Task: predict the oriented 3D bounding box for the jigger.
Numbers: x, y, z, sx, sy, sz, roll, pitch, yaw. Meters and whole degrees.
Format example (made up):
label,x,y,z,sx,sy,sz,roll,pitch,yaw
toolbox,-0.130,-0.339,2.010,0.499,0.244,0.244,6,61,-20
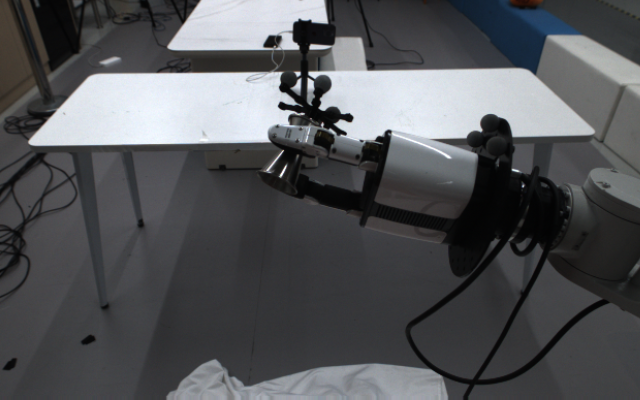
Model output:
label,x,y,z,sx,sy,sz,roll,pitch,yaw
jigger,-0.027,-0.047,0.473,0.043,0.043,0.071,19,72,23
